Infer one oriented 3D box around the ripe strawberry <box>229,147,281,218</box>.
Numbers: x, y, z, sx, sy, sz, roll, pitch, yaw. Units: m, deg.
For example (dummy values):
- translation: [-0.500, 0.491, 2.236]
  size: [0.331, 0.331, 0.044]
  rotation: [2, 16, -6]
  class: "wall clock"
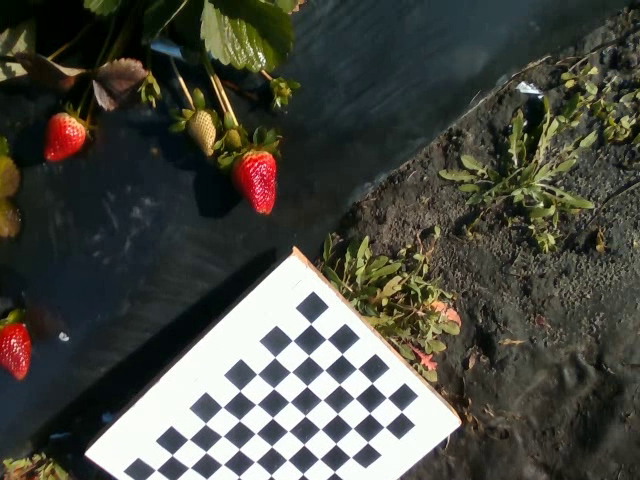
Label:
- translation: [-0.044, -0.040, 0.482]
  size: [0.042, 0.059, 0.042]
  rotation: [-23, 13, -8]
  class: "ripe strawberry"
